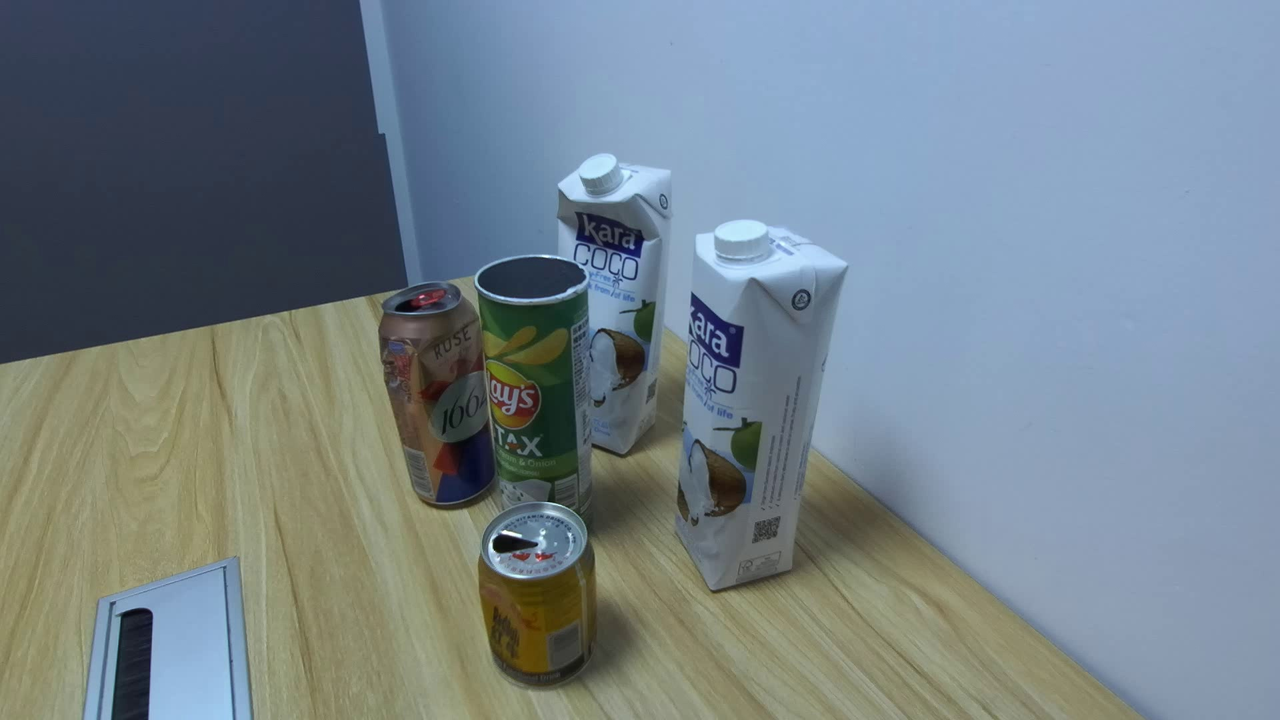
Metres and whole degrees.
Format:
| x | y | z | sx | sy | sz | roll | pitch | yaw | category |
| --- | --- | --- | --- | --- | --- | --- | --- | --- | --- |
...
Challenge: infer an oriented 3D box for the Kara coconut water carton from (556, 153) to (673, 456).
| x | y | z | sx | sy | sz | roll | pitch | yaw | category |
| --- | --- | --- | --- | --- | --- | --- | --- | --- | --- |
| -0.021 | -0.044 | 0.574 | 0.099 | 0.244 | 0.071 | 12 | 29 | 23 | Kara coconut water carton |

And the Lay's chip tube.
| x | y | z | sx | sy | sz | roll | pitch | yaw | category |
| --- | --- | --- | --- | --- | --- | --- | --- | --- | --- |
| -0.067 | 0.033 | 0.482 | 0.071 | 0.203 | 0.071 | 0 | 32 | 0 | Lay's chip tube |

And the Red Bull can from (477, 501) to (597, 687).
| x | y | z | sx | sy | sz | roll | pitch | yaw | category |
| --- | --- | --- | --- | --- | --- | --- | --- | --- | --- |
| -0.059 | 0.137 | 0.415 | 0.069 | 0.092 | 0.069 | 1 | 31 | 0 | Red Bull can |

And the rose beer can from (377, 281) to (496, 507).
| x | y | z | sx | sy | sz | roll | pitch | yaw | category |
| --- | --- | --- | --- | --- | --- | --- | --- | --- | --- |
| -0.151 | 0.028 | 0.533 | 0.065 | 0.167 | 0.076 | 22 | 38 | 36 | rose beer can |

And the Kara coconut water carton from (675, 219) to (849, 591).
| x | y | z | sx | sy | sz | roll | pitch | yaw | category |
| --- | --- | --- | --- | --- | --- | --- | --- | --- | --- |
| 0.069 | 0.031 | 0.448 | 0.075 | 0.245 | 0.076 | -9 | 31 | -18 | Kara coconut water carton |
